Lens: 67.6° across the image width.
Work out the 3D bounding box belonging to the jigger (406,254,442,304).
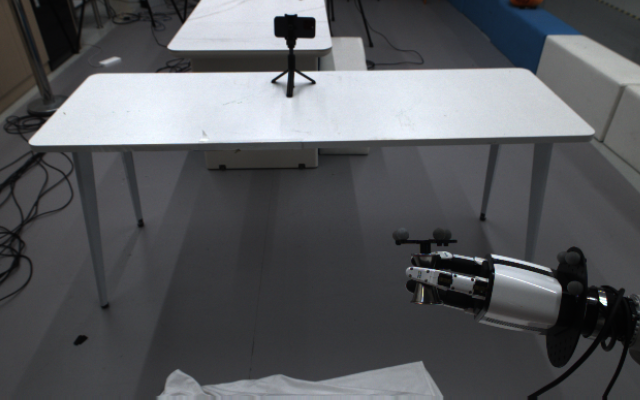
[{"bbox_3d":[0.147,0.109,0.678,0.043,0.071,0.043,1,-5,0],"label":"jigger"}]
